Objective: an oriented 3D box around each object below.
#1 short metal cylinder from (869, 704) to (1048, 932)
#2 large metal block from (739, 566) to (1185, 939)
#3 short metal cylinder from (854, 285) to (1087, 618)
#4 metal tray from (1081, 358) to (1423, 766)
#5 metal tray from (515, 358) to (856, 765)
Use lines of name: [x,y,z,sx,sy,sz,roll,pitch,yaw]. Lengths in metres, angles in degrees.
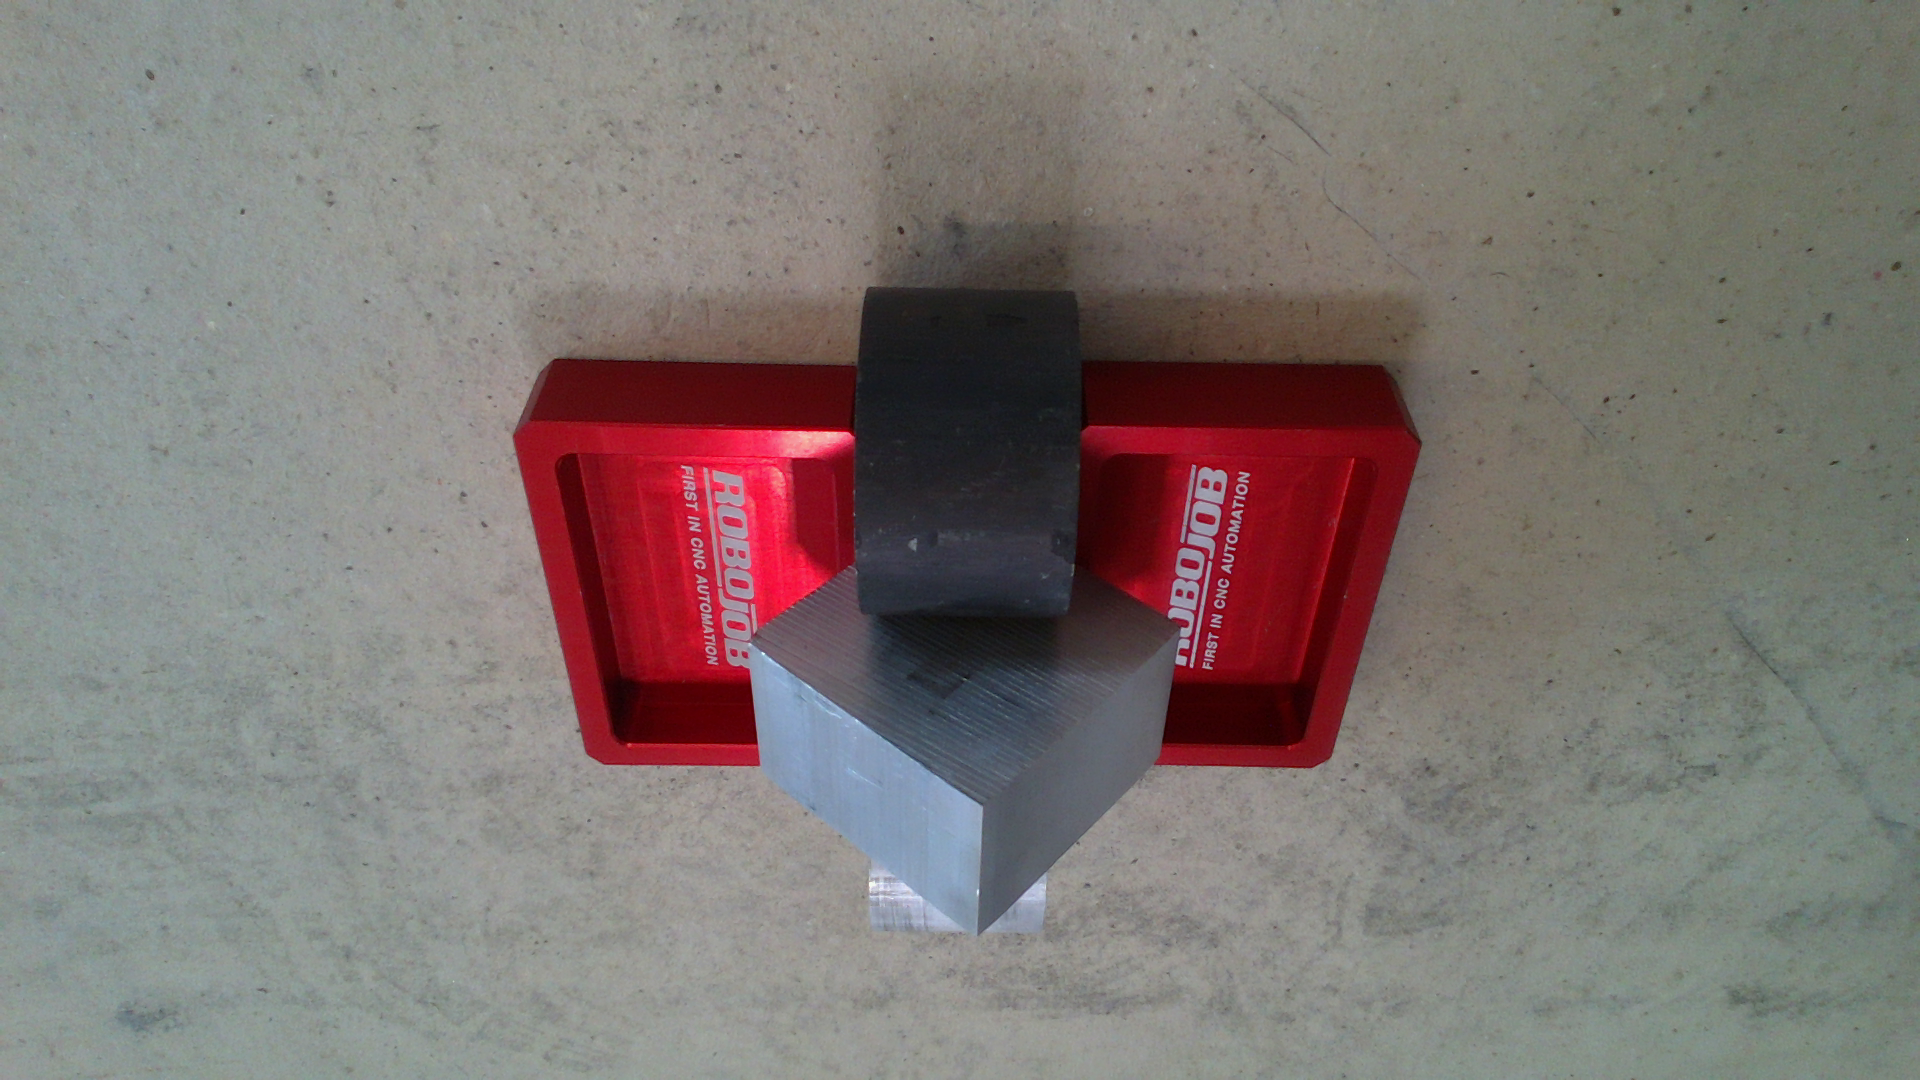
short metal cylinder: [-0.001,0.079,0.421,0.050,0.080,0.080,1,130,-1]
large metal block: [0.001,0.042,0.363,0.080,0.080,0.050,30,138,28]
short metal cylinder: [0.002,-0.021,0.337,0.050,0.080,0.080,1,130,-1]
metal tray: [0.071,0.011,0.398,0.090,0.030,0.130,1,130,-1]
metal tray: [-0.068,0.011,0.397,0.090,0.030,0.130,1,130,-1]
